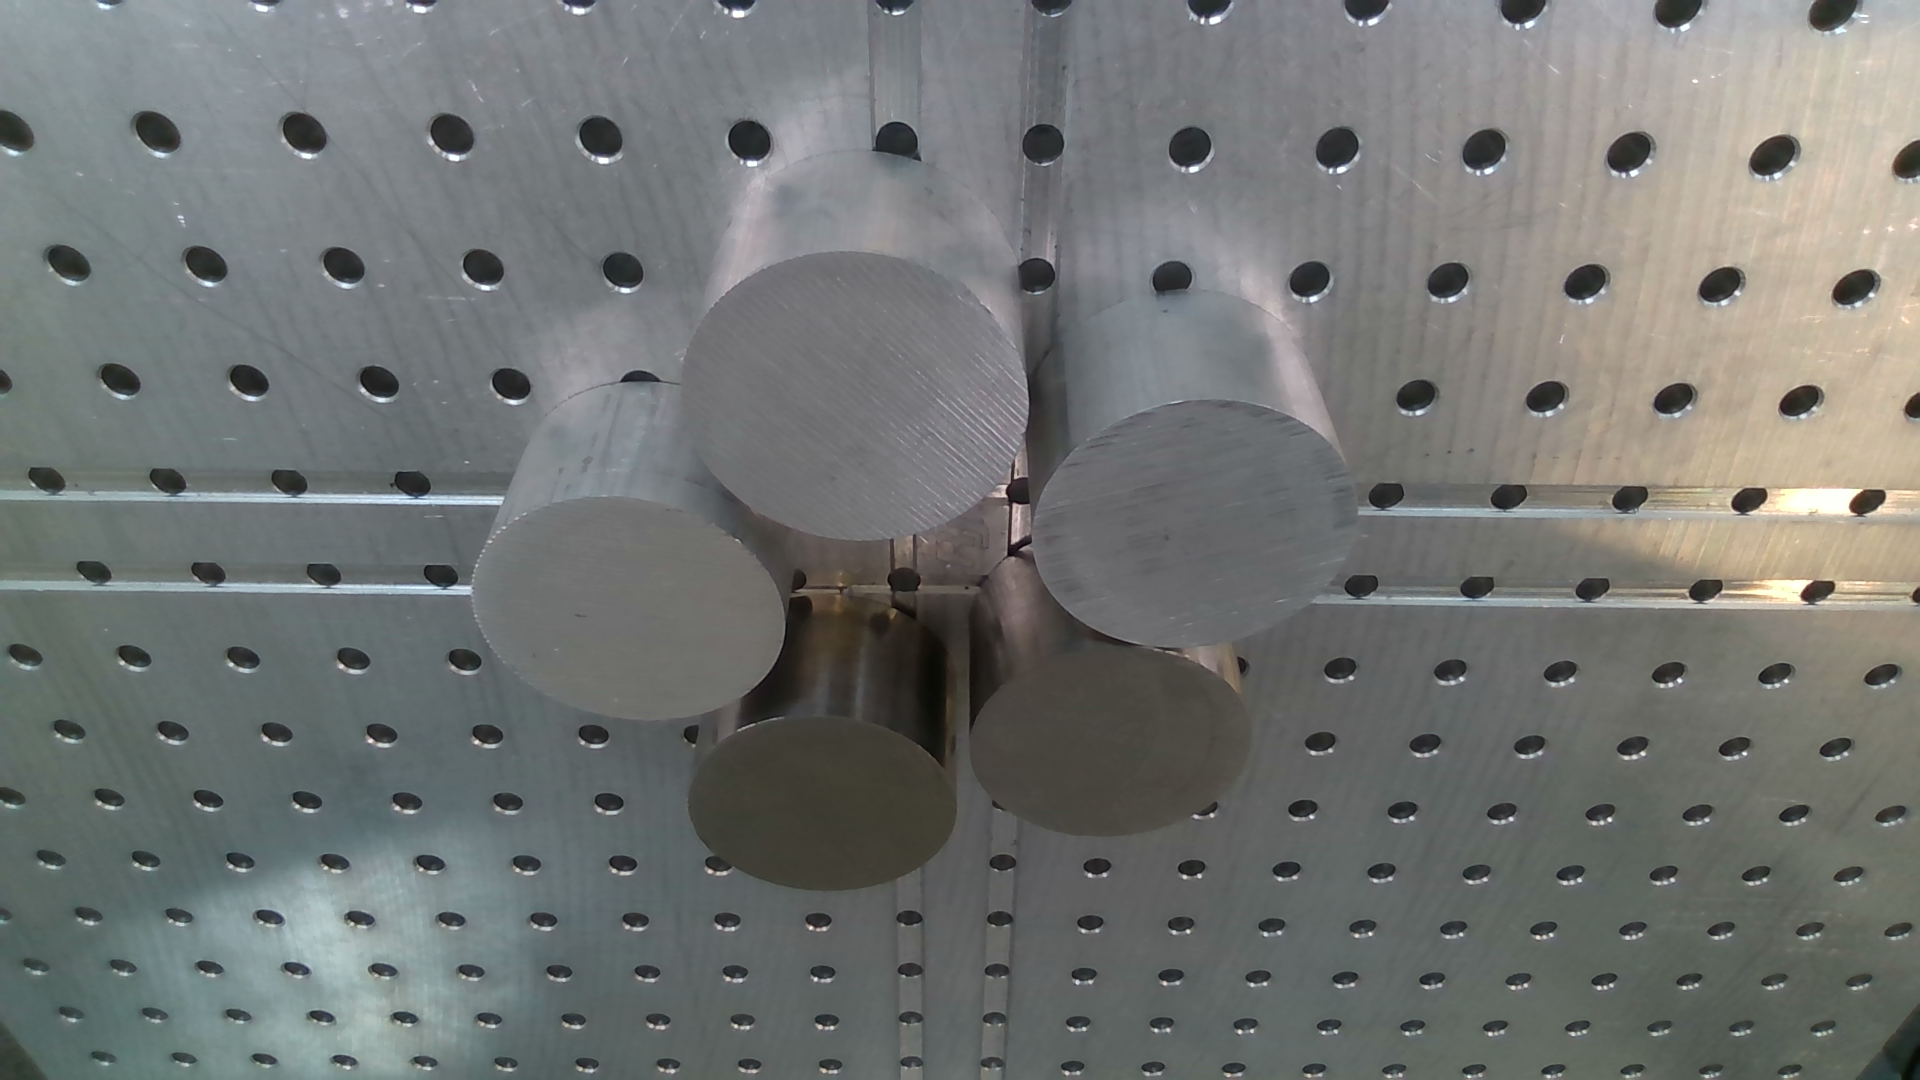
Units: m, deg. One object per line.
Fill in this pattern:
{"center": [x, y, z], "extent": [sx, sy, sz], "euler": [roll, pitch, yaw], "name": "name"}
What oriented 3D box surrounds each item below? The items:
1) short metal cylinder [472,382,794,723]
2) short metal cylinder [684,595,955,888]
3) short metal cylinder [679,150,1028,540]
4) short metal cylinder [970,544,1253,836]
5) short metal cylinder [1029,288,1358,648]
{"center": [-0.086, 0.004, 0.377], "extent": [0.080, 0.050, 0.080], "euler": [0, 129, 0], "name": "short metal cylinder"}
{"center": [-0.041, 0.063, 0.428], "extent": [0.080, 0.050, 0.080], "euler": [1, 130, 1], "name": "short metal cylinder"}
{"center": [-0.024, -0.047, 0.336], "extent": [0.080, 0.050, 0.080], "euler": [0, 130, 0], "name": "short metal cylinder"}
{"center": [0.043, 0.043, 0.410], "extent": [0.080, 0.050, 0.080], "euler": [0, 130, 0], "name": "short metal cylinder"}
{"center": [0.058, -0.018, 0.360], "extent": [0.080, 0.050, 0.080], "euler": [0, 130, 0], "name": "short metal cylinder"}
